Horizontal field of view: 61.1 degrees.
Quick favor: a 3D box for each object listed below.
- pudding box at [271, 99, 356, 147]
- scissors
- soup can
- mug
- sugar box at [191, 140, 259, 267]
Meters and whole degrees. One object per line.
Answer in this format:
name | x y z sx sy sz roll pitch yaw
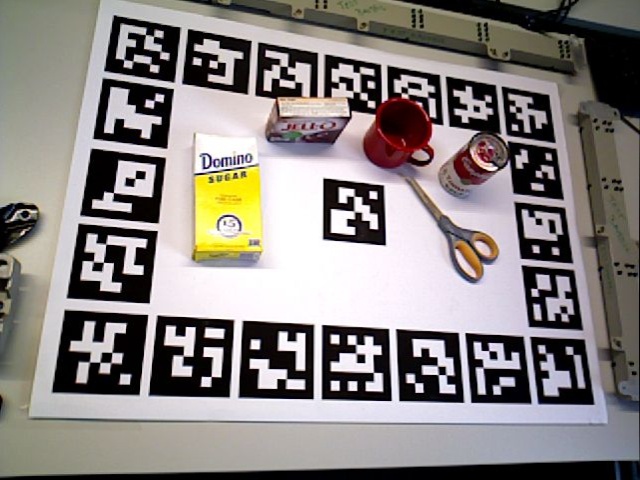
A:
pudding box | -0.009 -0.171 0.795 0.112 0.091 0.038 -5 81 -17
scissors | 0.213 -0.010 0.849 0.087 0.016 0.203 -39 88 -11
soup can | 0.244 -0.110 0.849 0.067 0.104 0.067 4 71 -13
mug | 0.133 -0.157 0.836 0.092 0.083 0.117 -33 83 -19
sugar box | -0.132 -0.051 0.761 0.092 0.046 0.175 1 76 -13
